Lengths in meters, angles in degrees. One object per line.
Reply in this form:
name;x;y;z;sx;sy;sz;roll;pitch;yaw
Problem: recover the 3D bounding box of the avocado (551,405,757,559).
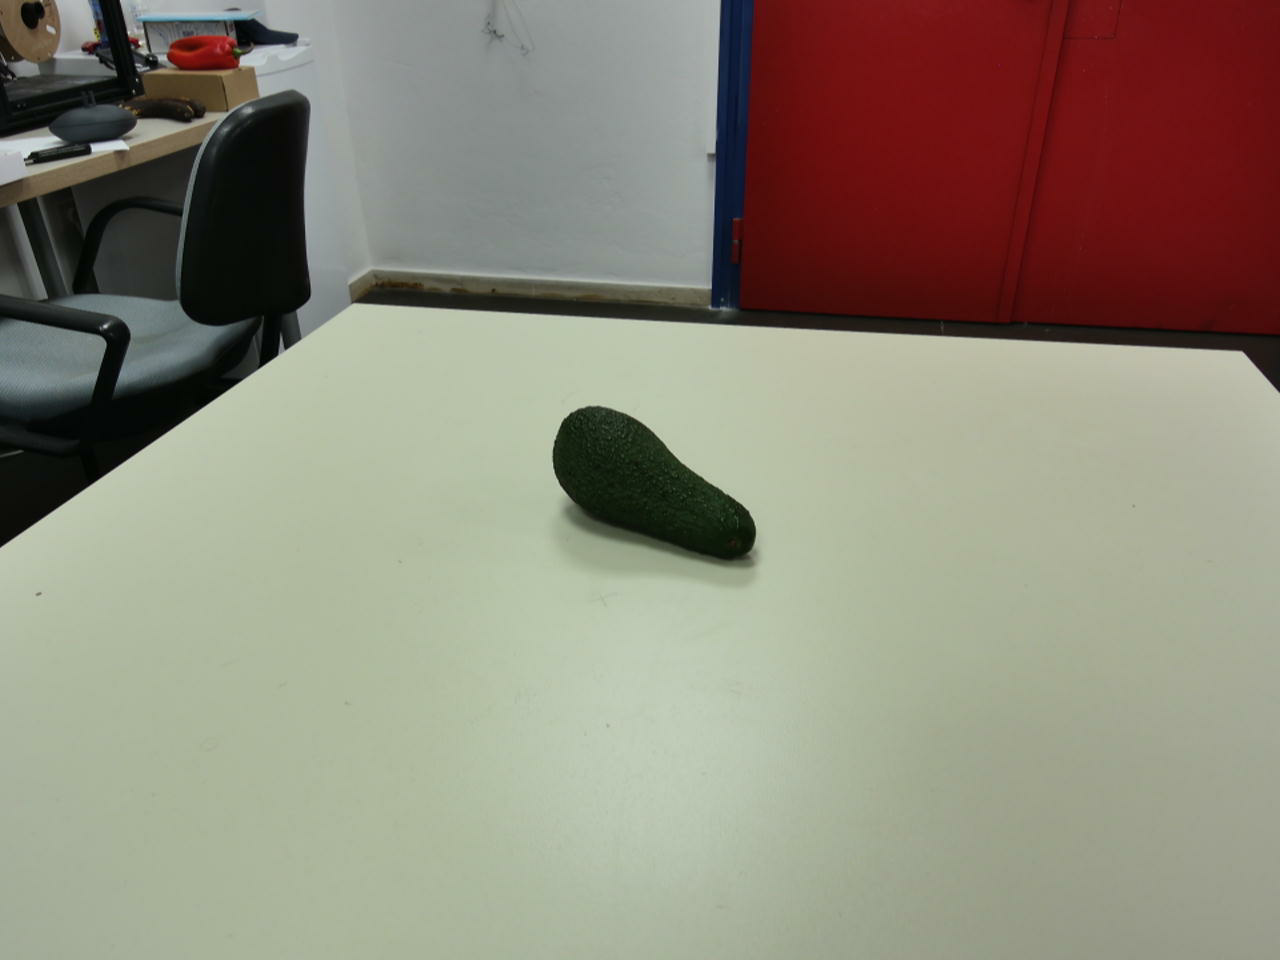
avocado;0.010;-0.003;0.583;0.141;0.067;0.063;13;29;24
